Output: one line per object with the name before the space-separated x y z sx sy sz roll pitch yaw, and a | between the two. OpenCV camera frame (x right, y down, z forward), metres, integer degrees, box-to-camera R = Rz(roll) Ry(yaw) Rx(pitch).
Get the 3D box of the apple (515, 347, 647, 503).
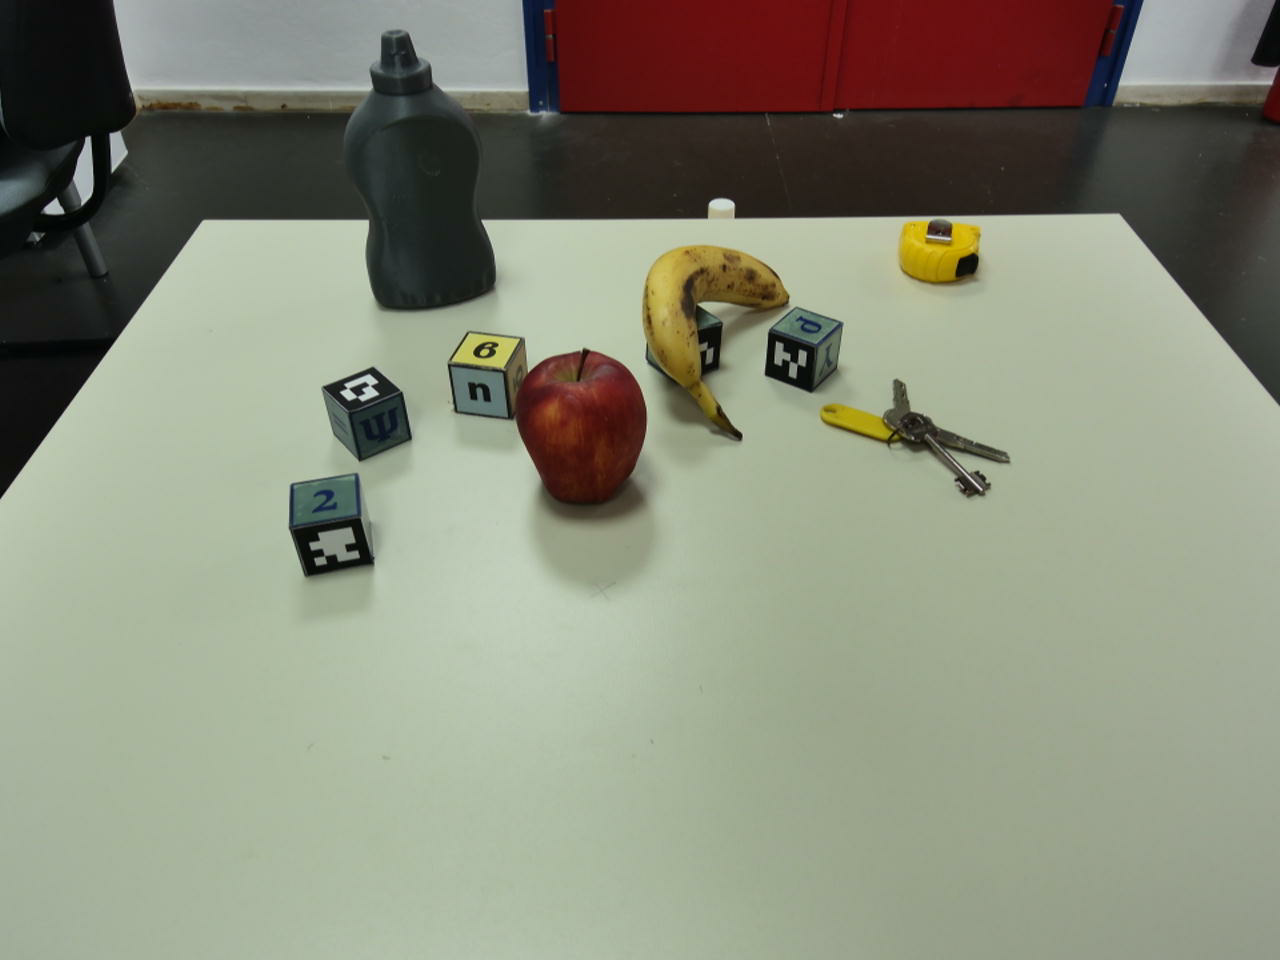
apple | -0.035 -0.036 0.579 0.083 0.090 0.083 1 39 -1
